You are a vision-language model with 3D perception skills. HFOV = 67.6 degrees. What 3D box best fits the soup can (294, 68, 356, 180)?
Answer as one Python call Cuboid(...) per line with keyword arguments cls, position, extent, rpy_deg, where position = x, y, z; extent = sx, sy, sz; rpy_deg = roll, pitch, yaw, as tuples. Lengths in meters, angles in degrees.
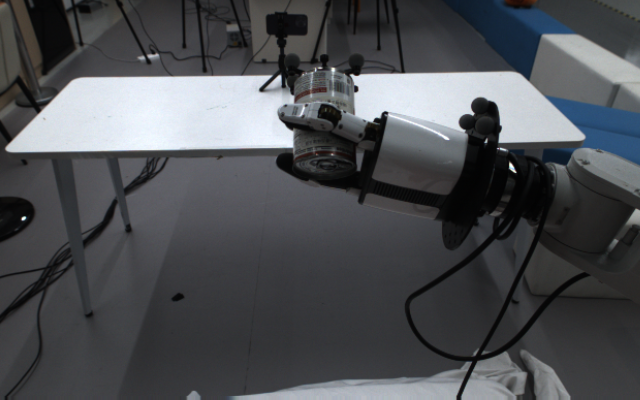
Cuboid(cls="soup can", position=(0.006, -0.080, 0.515), extent=(0.067, 0.067, 0.101), rpy_deg=(1, 72, -2))
